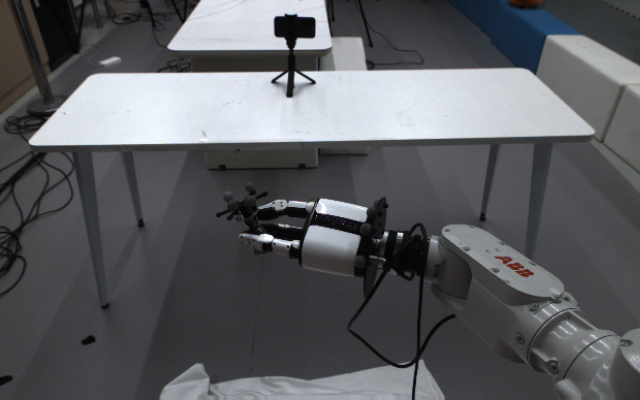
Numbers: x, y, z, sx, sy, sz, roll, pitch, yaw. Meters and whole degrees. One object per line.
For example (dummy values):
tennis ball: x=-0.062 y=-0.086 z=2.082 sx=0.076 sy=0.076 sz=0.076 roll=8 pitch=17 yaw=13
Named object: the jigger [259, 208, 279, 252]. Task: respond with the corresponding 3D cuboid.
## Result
jigger: x=-0.101 y=0.048 z=0.789 sx=0.043 sy=0.071 sz=0.043 roll=-22 pitch=23 yaw=10
